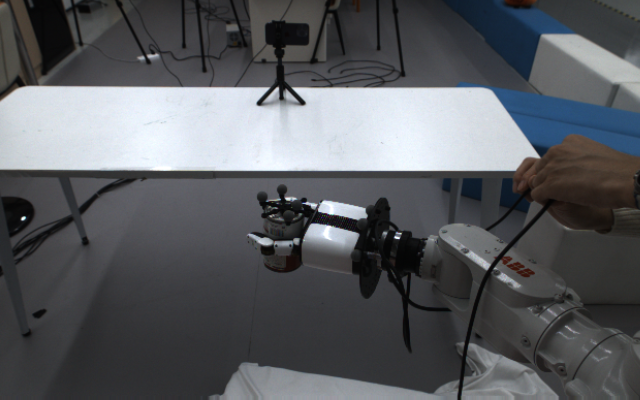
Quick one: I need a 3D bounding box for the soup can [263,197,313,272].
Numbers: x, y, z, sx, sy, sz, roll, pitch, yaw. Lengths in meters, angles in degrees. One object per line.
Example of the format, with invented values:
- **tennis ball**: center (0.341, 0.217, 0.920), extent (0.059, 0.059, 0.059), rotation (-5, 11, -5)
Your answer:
- **soup can**: center (-0.060, 0.062, 0.799), extent (0.067, 0.101, 0.067), rotation (4, 30, -2)
